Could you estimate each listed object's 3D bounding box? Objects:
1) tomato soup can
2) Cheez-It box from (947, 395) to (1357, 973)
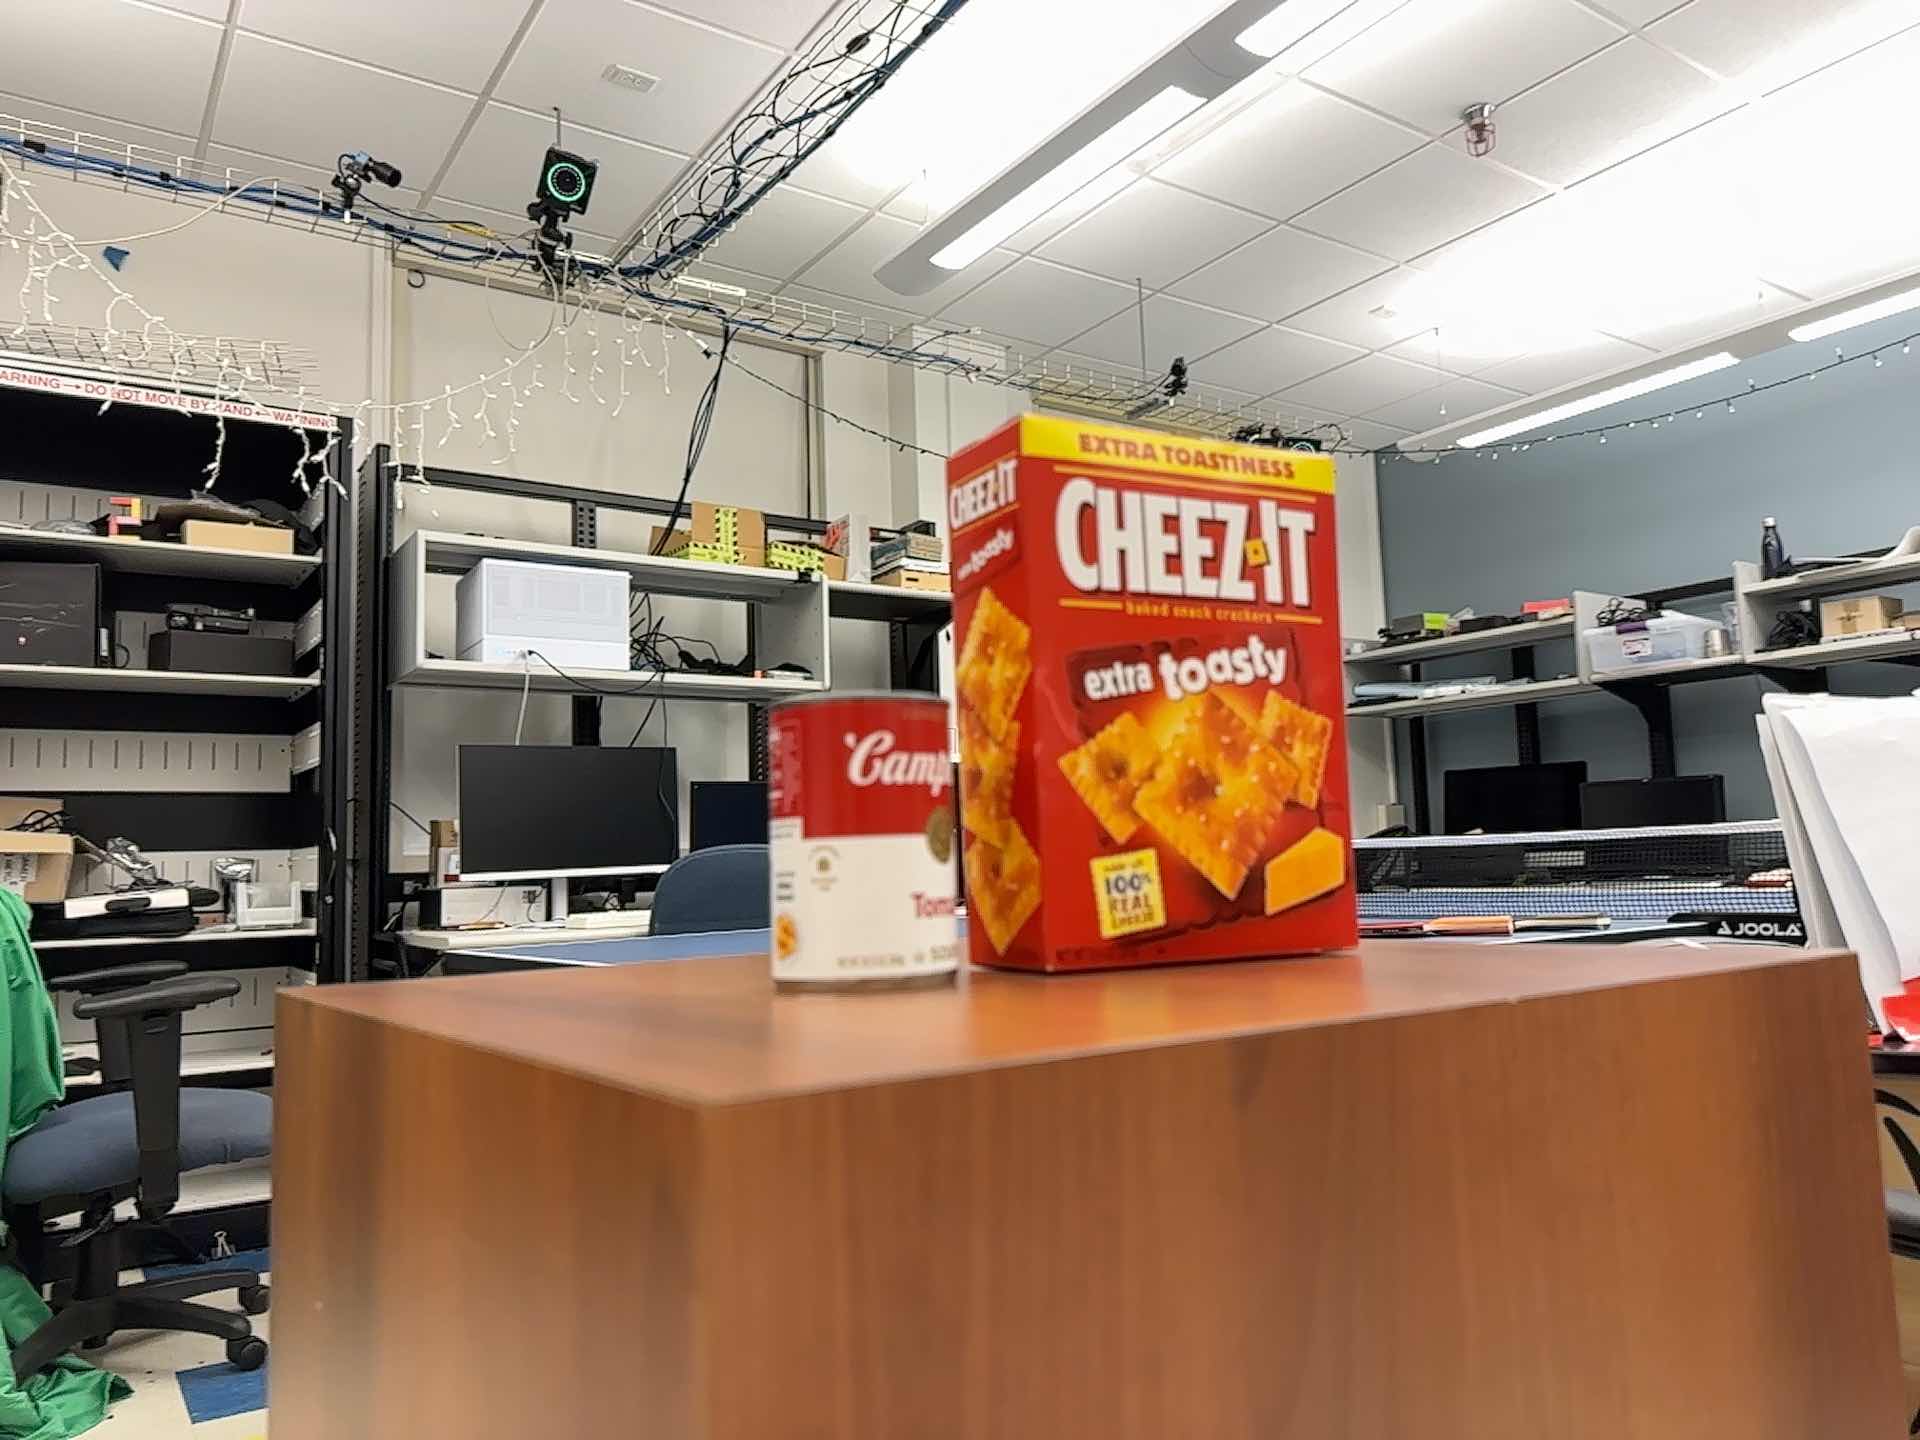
[{"bbox_3d":[-0.035,0.040,0.476,0.067,0.102,0.067,-1,-8,0],"label":"tomato soup can"},{"bbox_3d":[0.082,-0.010,0.565,0.159,0.214,0.062,4,-8,-30],"label":"Cheez-It box"}]
